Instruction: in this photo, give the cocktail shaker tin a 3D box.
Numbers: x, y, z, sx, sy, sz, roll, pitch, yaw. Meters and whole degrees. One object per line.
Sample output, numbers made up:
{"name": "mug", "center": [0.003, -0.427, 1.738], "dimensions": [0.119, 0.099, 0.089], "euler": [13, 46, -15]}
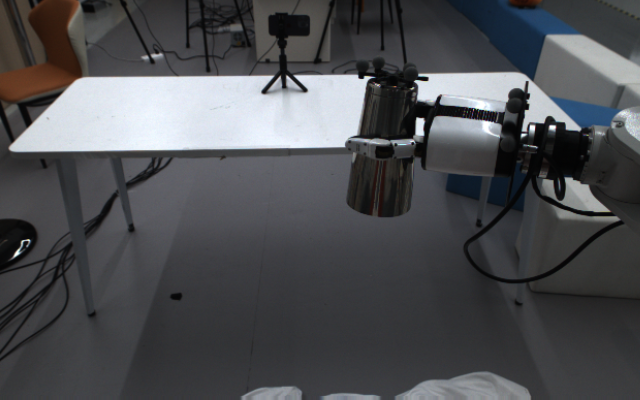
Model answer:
{"name": "cocktail shaker tin", "center": [0.089, -0.074, 0.654], "dimensions": [0.093, 0.170, 0.093], "euler": [3, 26, -1]}
